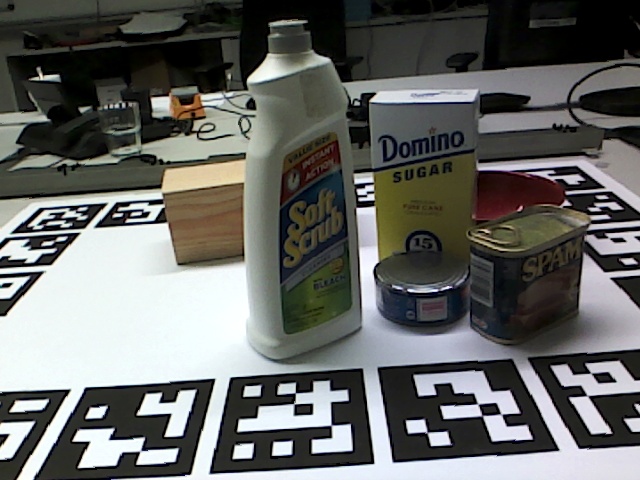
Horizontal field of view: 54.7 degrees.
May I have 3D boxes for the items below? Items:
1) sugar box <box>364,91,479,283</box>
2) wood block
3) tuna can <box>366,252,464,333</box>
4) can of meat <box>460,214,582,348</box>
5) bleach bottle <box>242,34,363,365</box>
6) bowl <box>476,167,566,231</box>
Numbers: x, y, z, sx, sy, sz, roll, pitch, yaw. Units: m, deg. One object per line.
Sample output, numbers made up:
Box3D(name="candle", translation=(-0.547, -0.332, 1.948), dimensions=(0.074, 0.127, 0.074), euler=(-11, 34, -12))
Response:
Box3D(name="sugar box", translation=(0.100, -0.046, 0.580), dimensions=(0.093, 0.176, 0.045), euler=(1, 27, 22))
Box3D(name="wood block", translation=(-0.077, -0.040, 0.721), dimensions=(0.206, 0.089, 0.091), euler=(-8, 29, -8))
Box3D(name="tuna can", translation=(0.084, 0.046, 0.554), dimensions=(0.086, 0.033, 0.086), euler=(-5, 28, 2))
Box3D(name="can of meat", translation=(0.169, 0.033, 0.521), dimensions=(0.101, 0.083, 0.058), euler=(-17, 24, -27))
Box3D(name="bleach bottle", translation=(-0.023, -0.031, 0.492), dimensions=(0.102, 0.250, 0.068), euler=(-16, 25, -22))
Box3D(name="bowl", translation=(0.182, -0.030, 0.679), dimensions=(0.162, 0.055, 0.162), euler=(-8, 24, 3))
